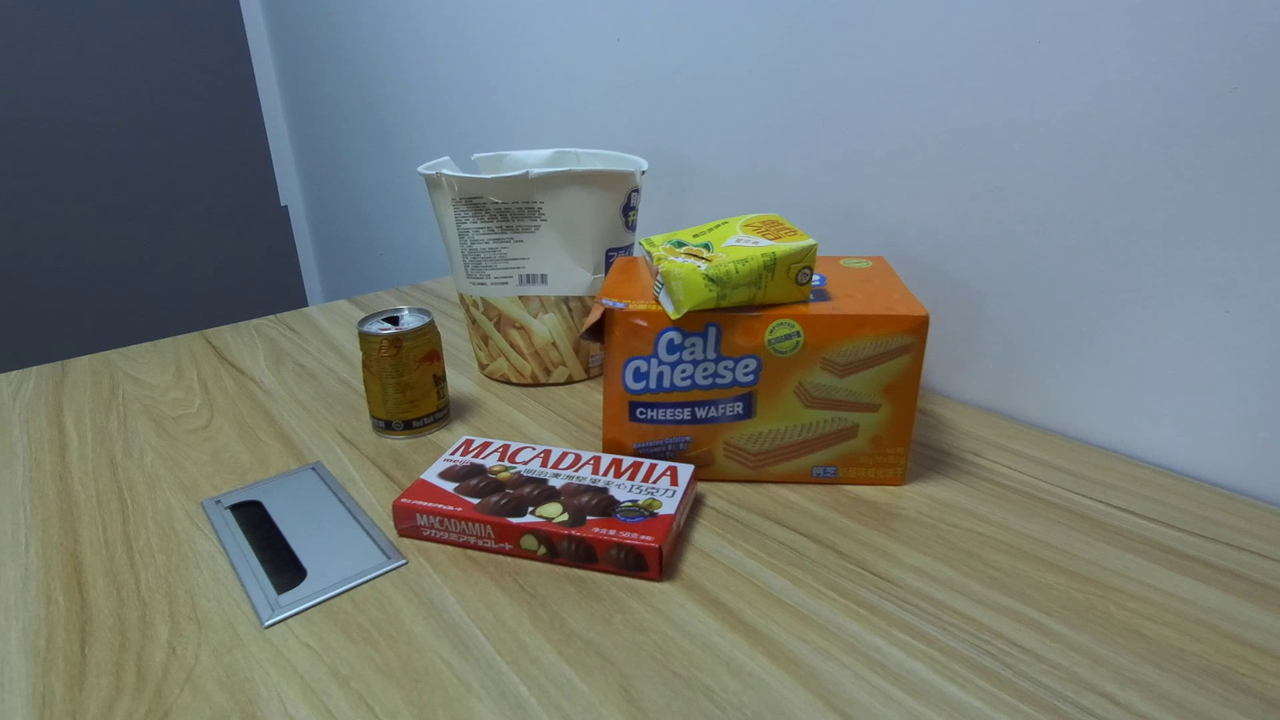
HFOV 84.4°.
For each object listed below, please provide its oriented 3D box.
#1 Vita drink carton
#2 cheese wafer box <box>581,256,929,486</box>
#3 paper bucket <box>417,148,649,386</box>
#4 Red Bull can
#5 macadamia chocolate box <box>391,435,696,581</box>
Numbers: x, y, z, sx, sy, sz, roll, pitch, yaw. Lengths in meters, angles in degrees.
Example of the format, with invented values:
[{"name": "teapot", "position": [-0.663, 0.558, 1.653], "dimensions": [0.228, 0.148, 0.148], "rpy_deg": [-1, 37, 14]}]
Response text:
[{"name": "Vita drink carton", "position": [0.057, -0.062, 0.476], "dimensions": [0.108, 0.042, 0.086], "rpy_deg": [-10, 32, -14]}, {"name": "cheese wafer box", "position": [0.082, -0.003, 0.537], "dimensions": [0.227, 0.137, 0.149], "rpy_deg": [1, 24, 4]}, {"name": "paper bucket", "position": [-0.096, -0.094, 0.681], "dimensions": [0.203, 0.197, 0.145], "rpy_deg": [-4, 22, -6]}, {"name": "Red Bull can", "position": [-0.196, 0.010, 0.586], "dimensions": [0.068, 0.093, 0.068], "rpy_deg": [-1, 22, 1]}, {"name": "macadamia chocolate box", "position": [-0.059, 0.093, 0.466], "dimensions": [0.177, 0.027, 0.096], "rpy_deg": [5, 23, 16]}]
